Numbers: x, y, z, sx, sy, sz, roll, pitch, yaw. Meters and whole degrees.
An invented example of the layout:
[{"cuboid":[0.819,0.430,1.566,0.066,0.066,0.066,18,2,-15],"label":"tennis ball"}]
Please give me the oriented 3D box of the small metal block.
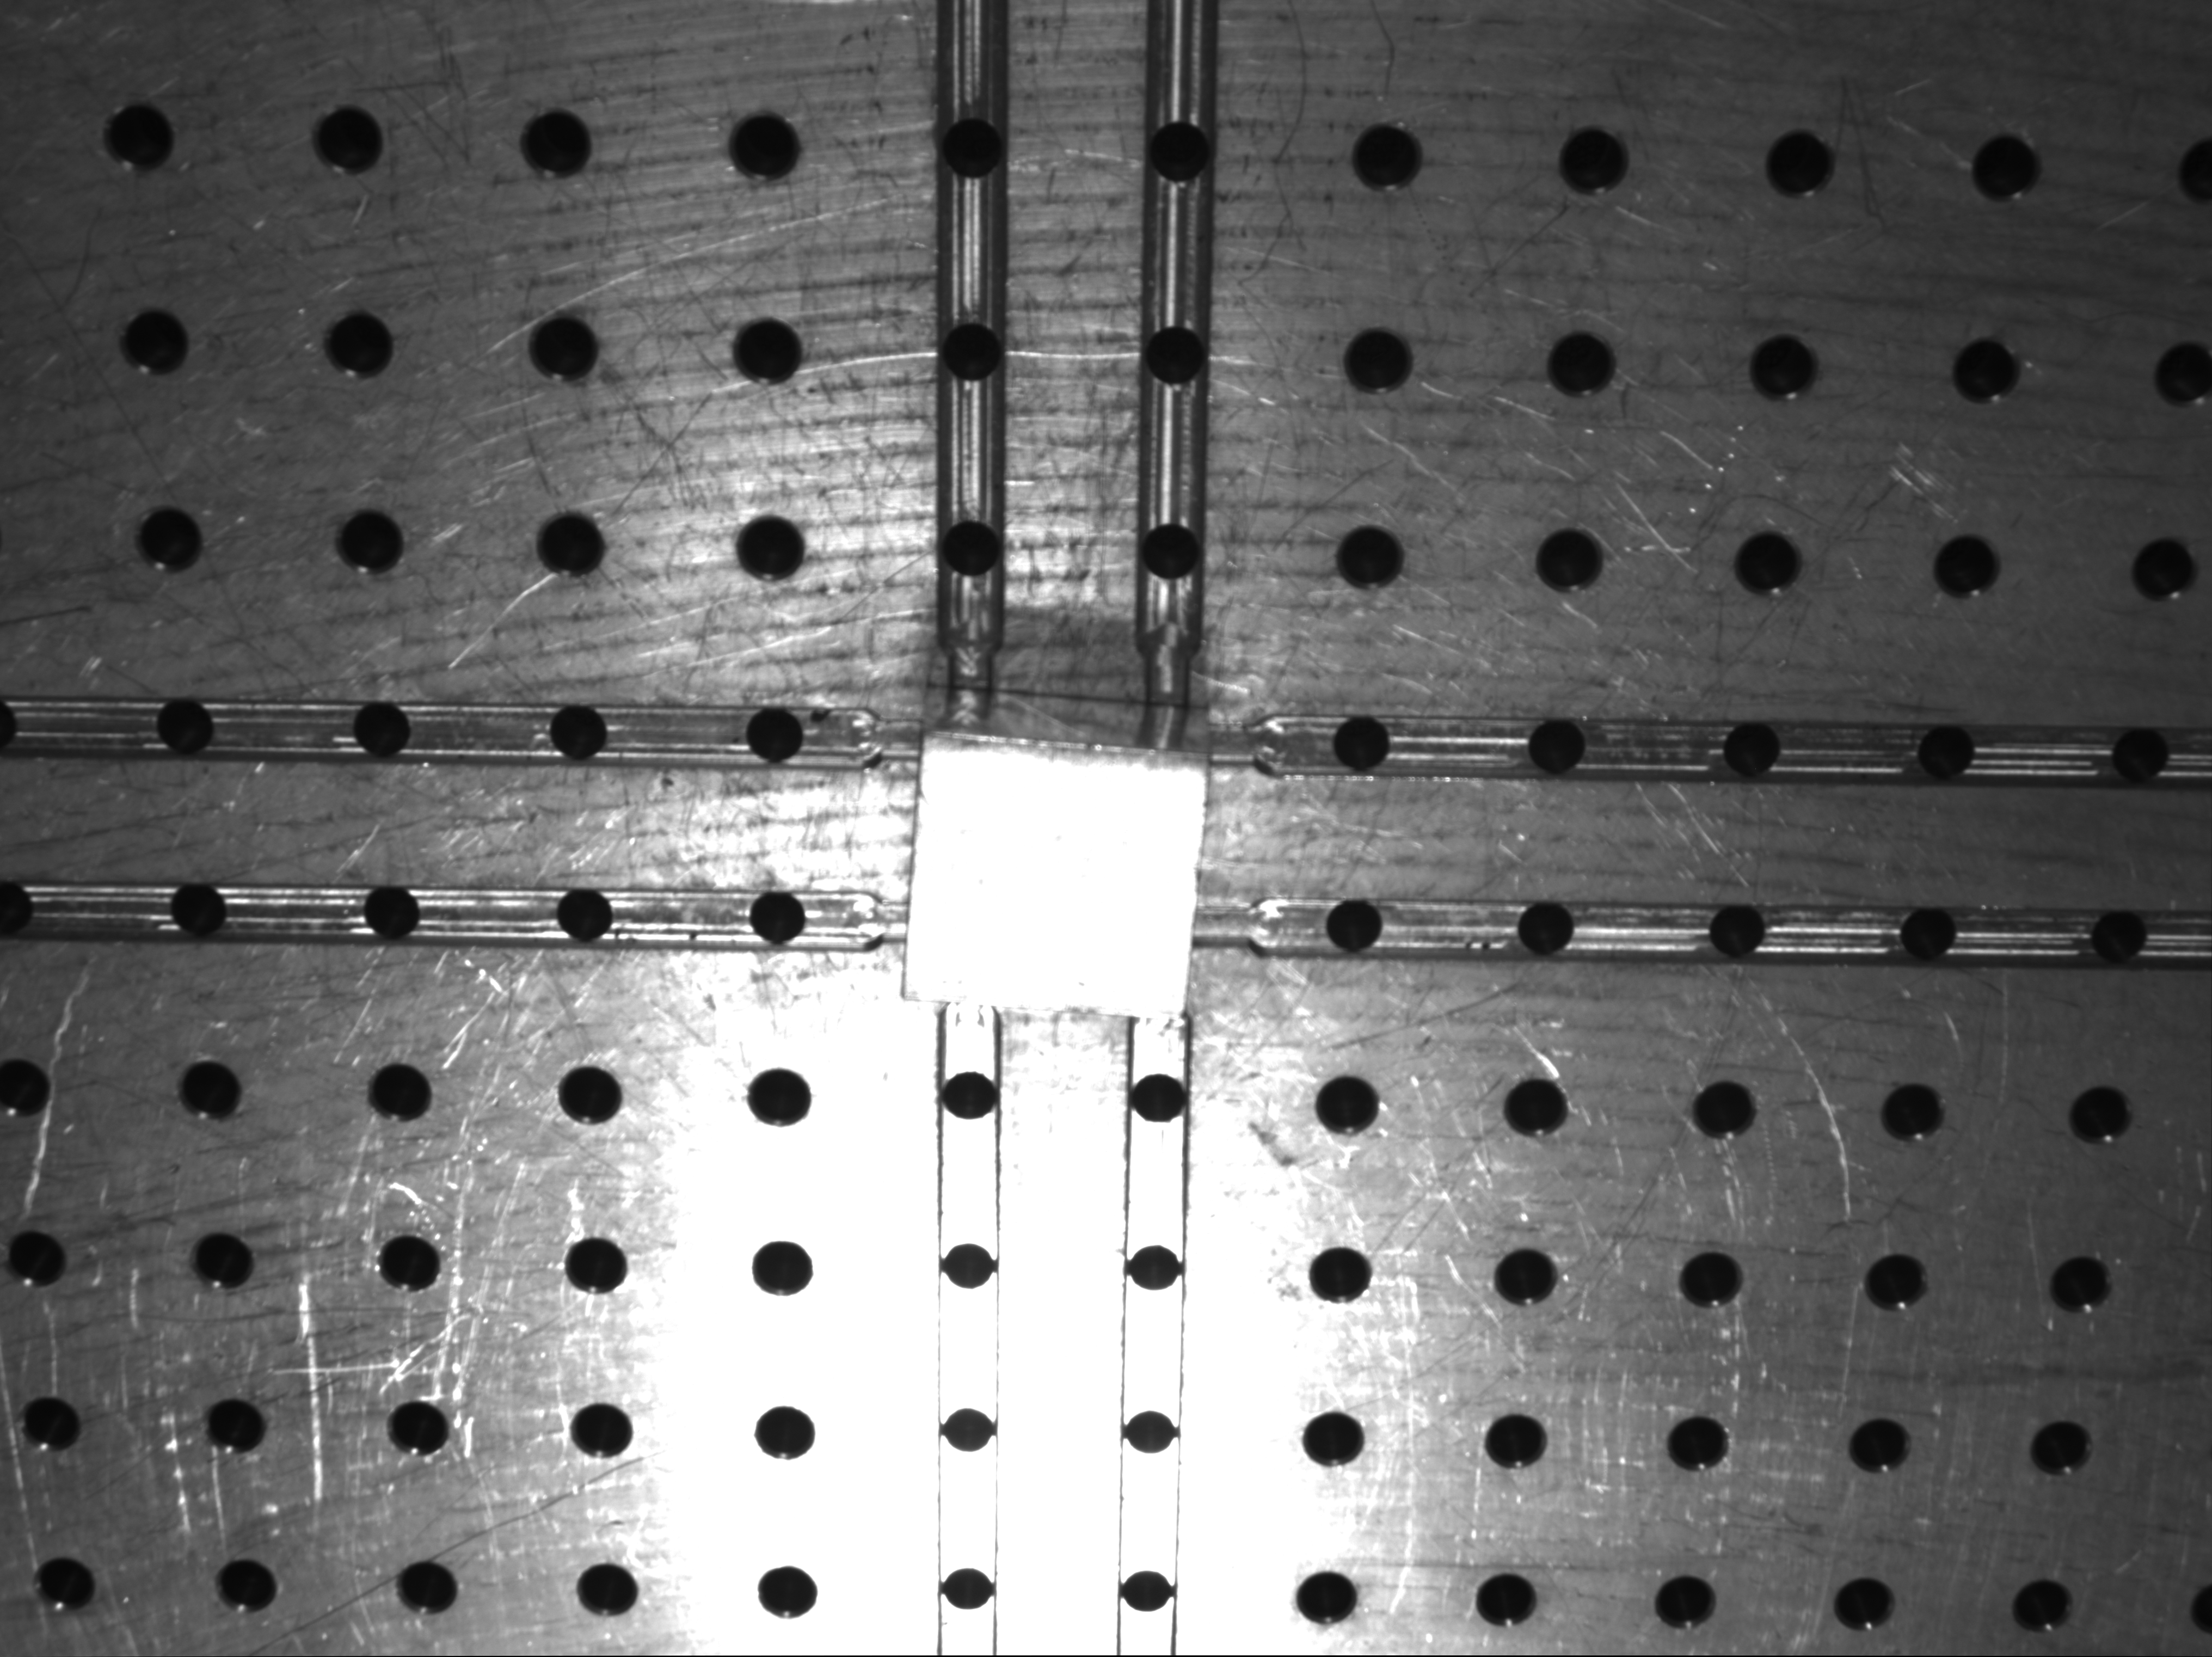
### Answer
[{"cuboid":[-0.012,0.005,0.647,0.050,0.025,0.050,5,110,-2],"label":"small metal block"}]
